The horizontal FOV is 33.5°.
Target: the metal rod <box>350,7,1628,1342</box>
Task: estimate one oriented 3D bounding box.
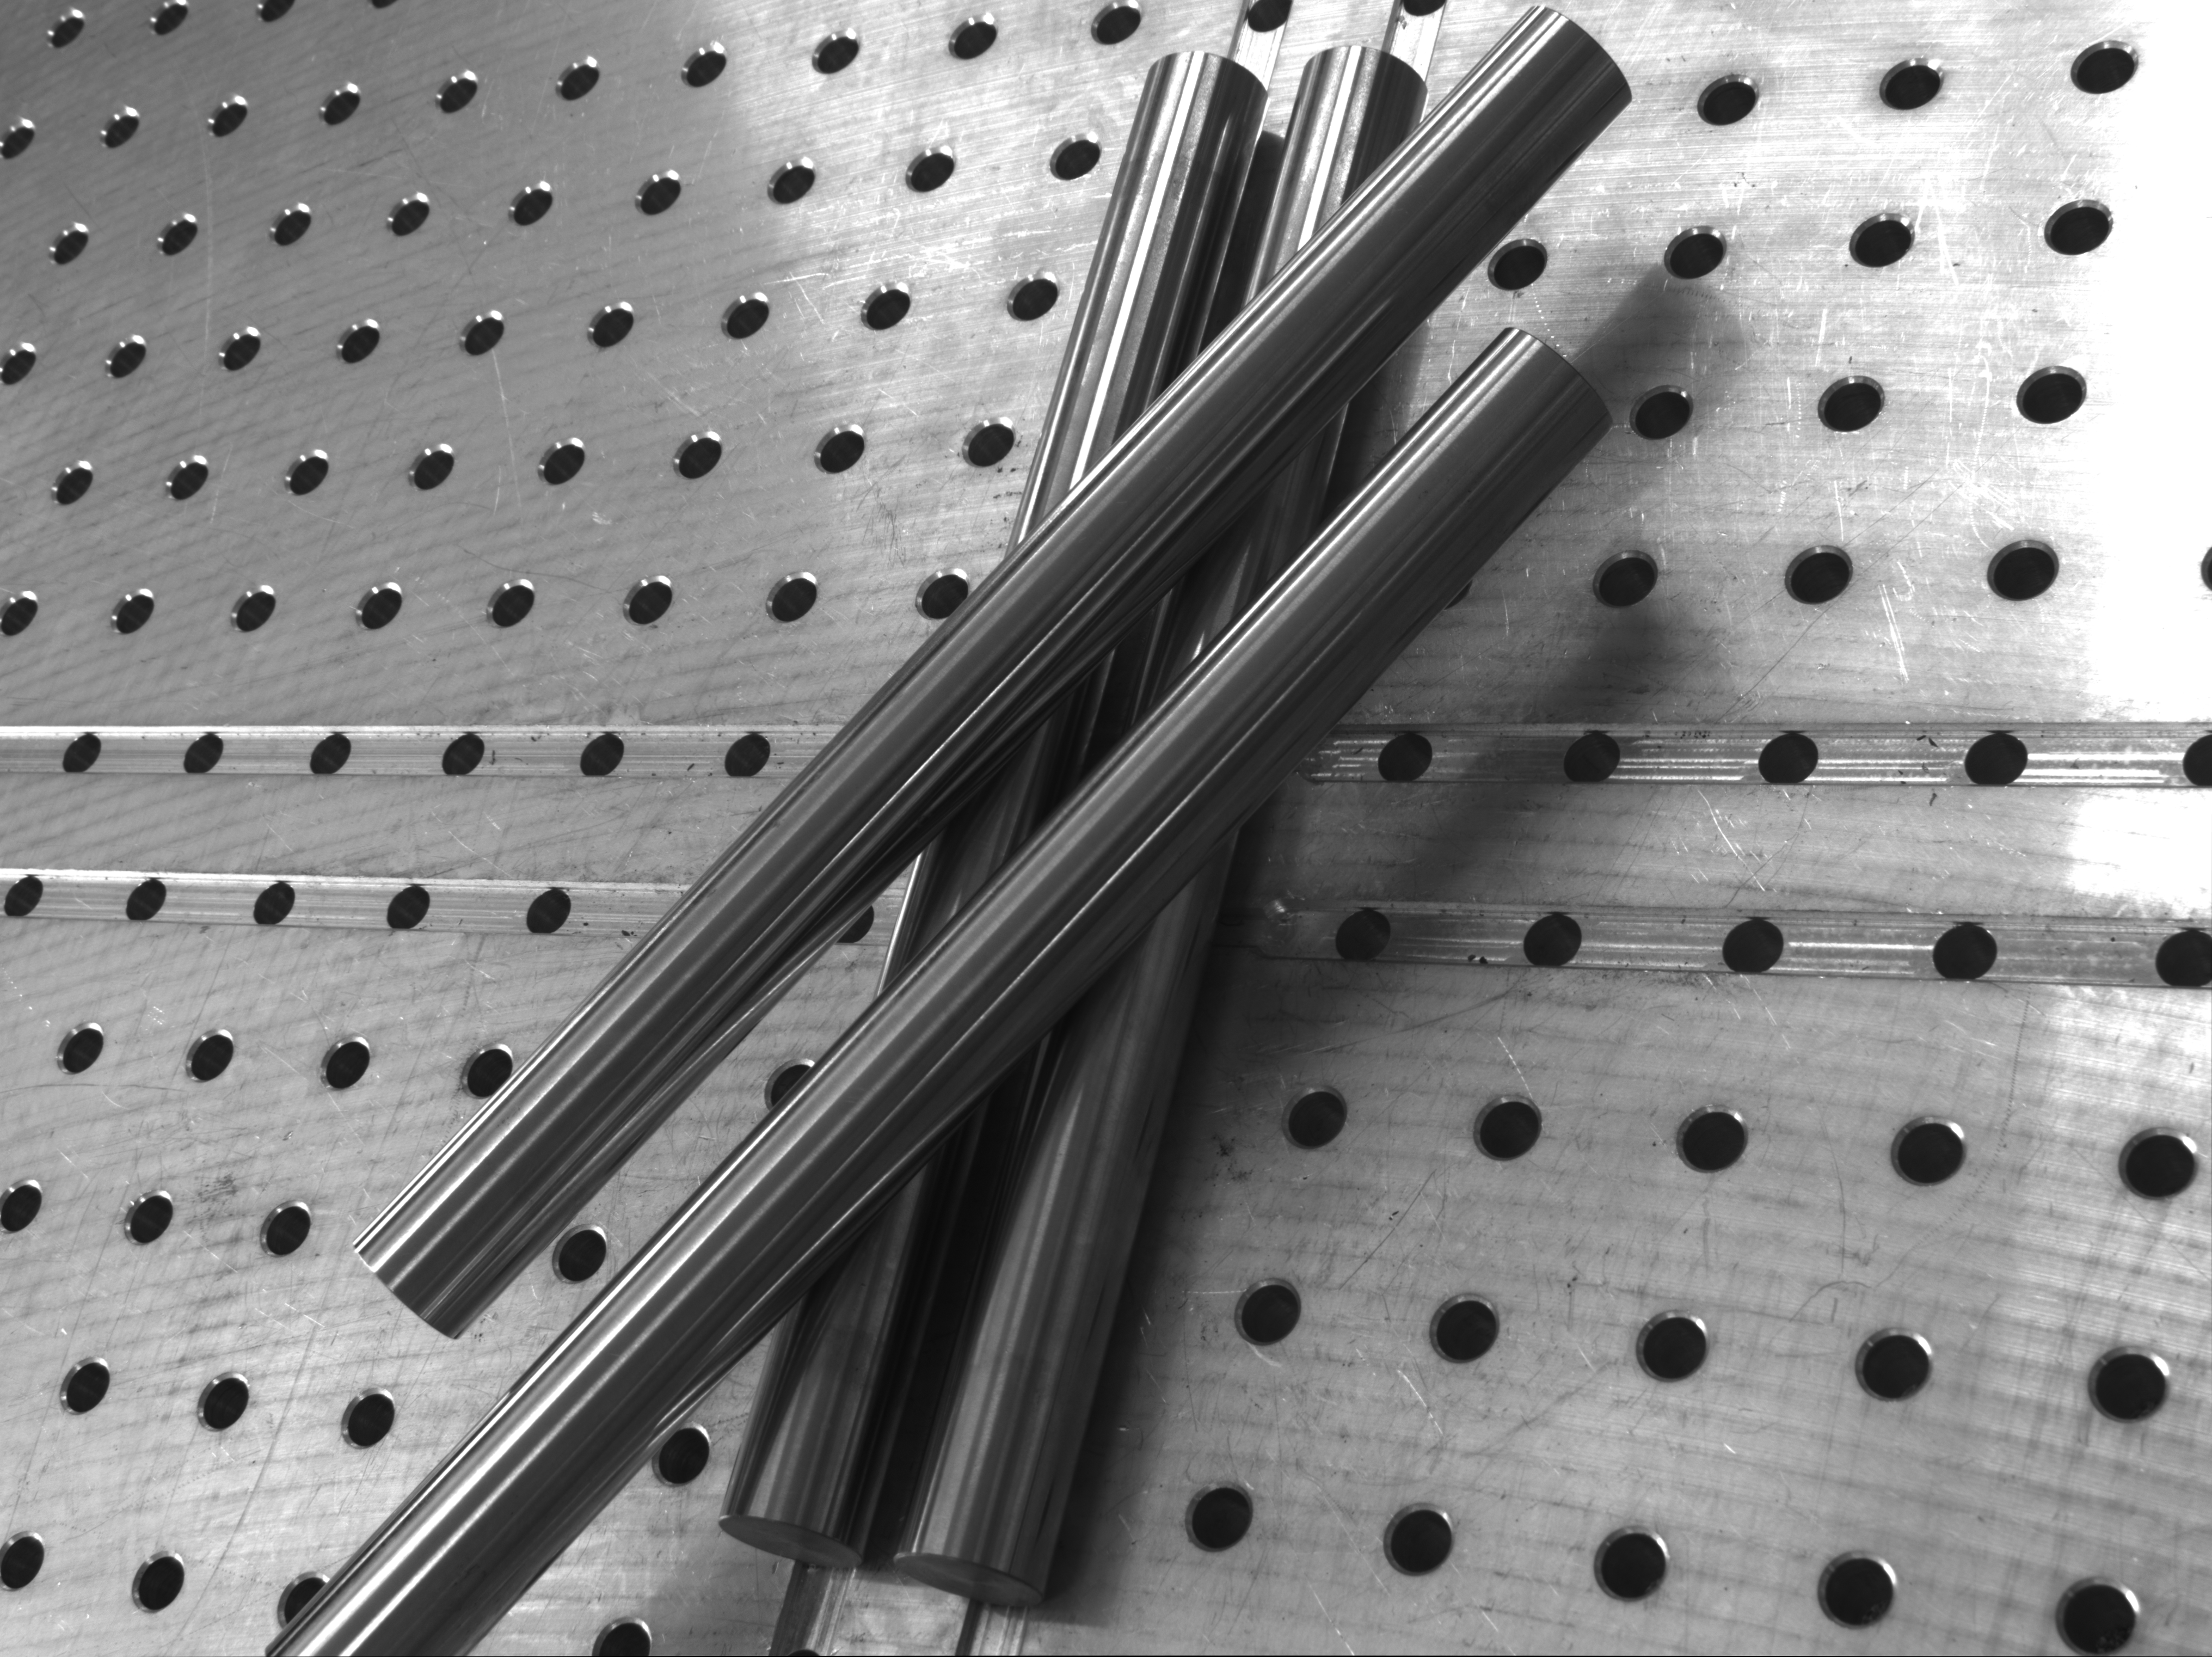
[{"bbox_3d":[-0.019,-0.029,0.645,0.300,0.025,0.025,-47,51,-4],"label":"metal rod"}]

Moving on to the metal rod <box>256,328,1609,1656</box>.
[{"bbox_3d":[-0.027,0.033,0.610,0.300,0.025,0.025,-47,51,-5],"label":"metal rod"}]

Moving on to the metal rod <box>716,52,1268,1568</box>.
[{"bbox_3d":[-0.016,-0.014,0.667,0.025,0.025,0.300,1,62,29],"label":"metal rod"}]

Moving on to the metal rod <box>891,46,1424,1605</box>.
[{"bbox_3d":[0.014,-0.012,0.649,0.025,0.025,0.300,1,62,29],"label":"metal rod"}]
